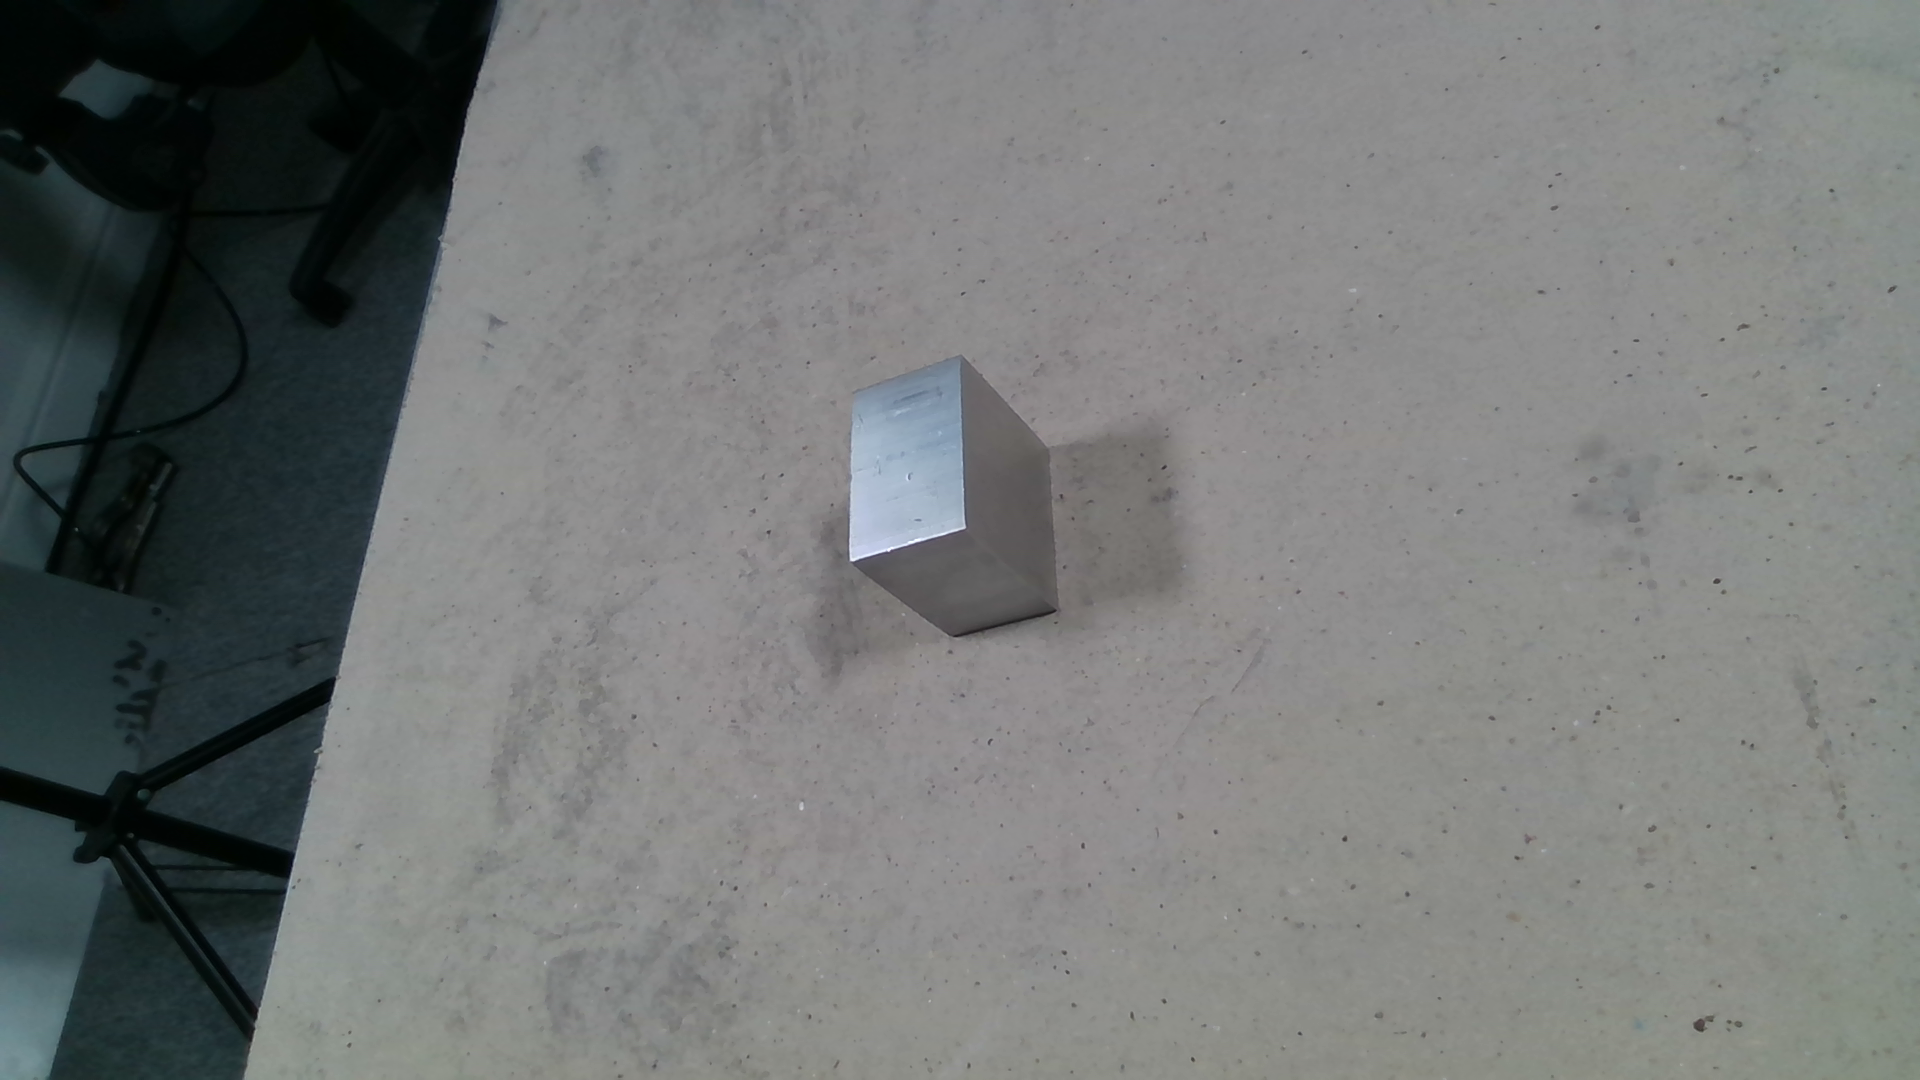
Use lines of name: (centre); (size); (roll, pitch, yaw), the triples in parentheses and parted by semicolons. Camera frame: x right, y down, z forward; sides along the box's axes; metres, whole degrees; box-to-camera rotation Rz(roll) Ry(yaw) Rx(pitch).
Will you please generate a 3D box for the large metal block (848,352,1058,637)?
large metal block: (-0.002, -0.016, 0.560); (0.050, 0.080, 0.080); (-16, 58, 24)
